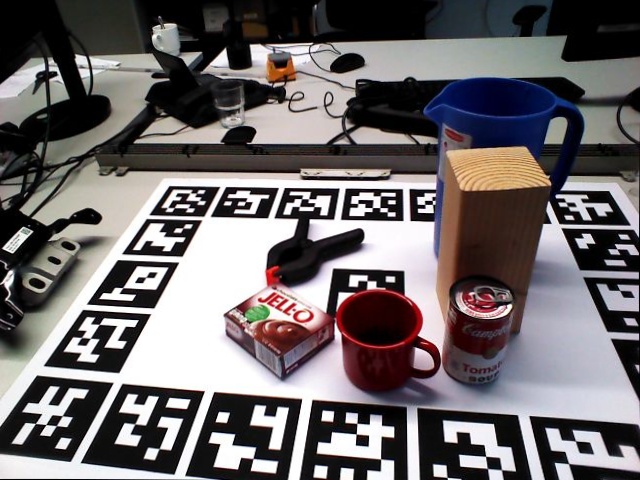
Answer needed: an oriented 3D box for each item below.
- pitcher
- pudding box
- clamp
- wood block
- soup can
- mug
[{"bbox_3d":[0.238,-0.082,0.669,0.189,0.243,0.132,-1,34,11],"label":"pitcher"},{"bbox_3d":[-0.055,0.101,0.633,0.089,0.039,0.114,-34,43,-30],"label":"pudding box"},{"bbox_3d":[-0.009,0.012,0.760,0.122,0.037,0.164,27,47,27],"label":"clamp"},{"bbox_3d":[0.197,0.000,0.586,0.090,0.207,0.090,2,36,5],"label":"wood block"},{"bbox_3d":[0.170,0.094,0.549,0.068,0.102,0.067,-4,38,3],"label":"soup can"},{"bbox_3d":[0.076,0.113,0.556,0.092,0.082,0.117,-31,41,-34],"label":"mug"}]
